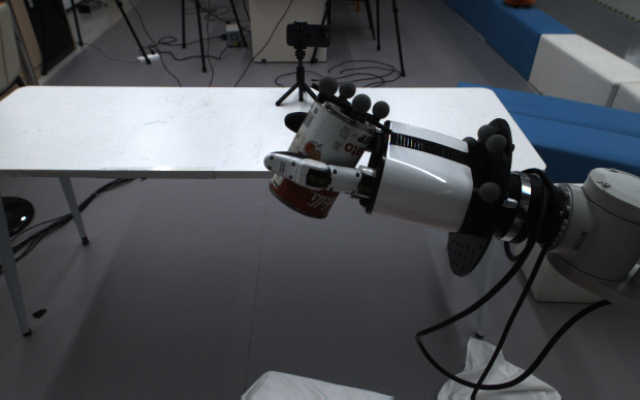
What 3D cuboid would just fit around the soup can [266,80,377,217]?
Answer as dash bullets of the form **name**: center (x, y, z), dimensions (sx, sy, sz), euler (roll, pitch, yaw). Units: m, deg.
- **soup can**: center (0.004, -0.041, 0.476), dimensions (0.067, 0.101, 0.067), euler (27, 18, -9)
